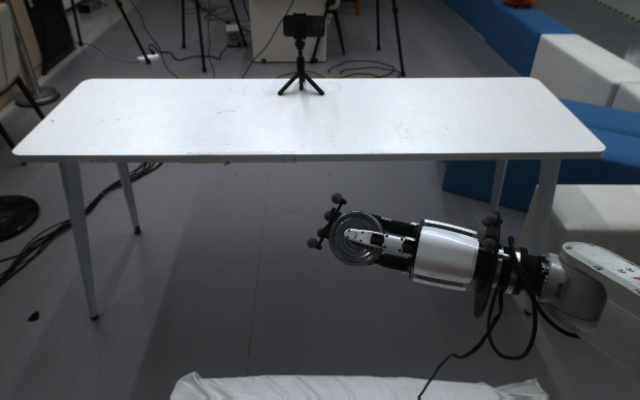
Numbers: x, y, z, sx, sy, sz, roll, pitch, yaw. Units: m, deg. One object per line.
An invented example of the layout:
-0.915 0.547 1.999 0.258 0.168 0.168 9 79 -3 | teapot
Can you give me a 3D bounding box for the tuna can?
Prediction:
0.059 0.058 0.744 0.085 0.085 0.034 9 -5 10 | tuna can
